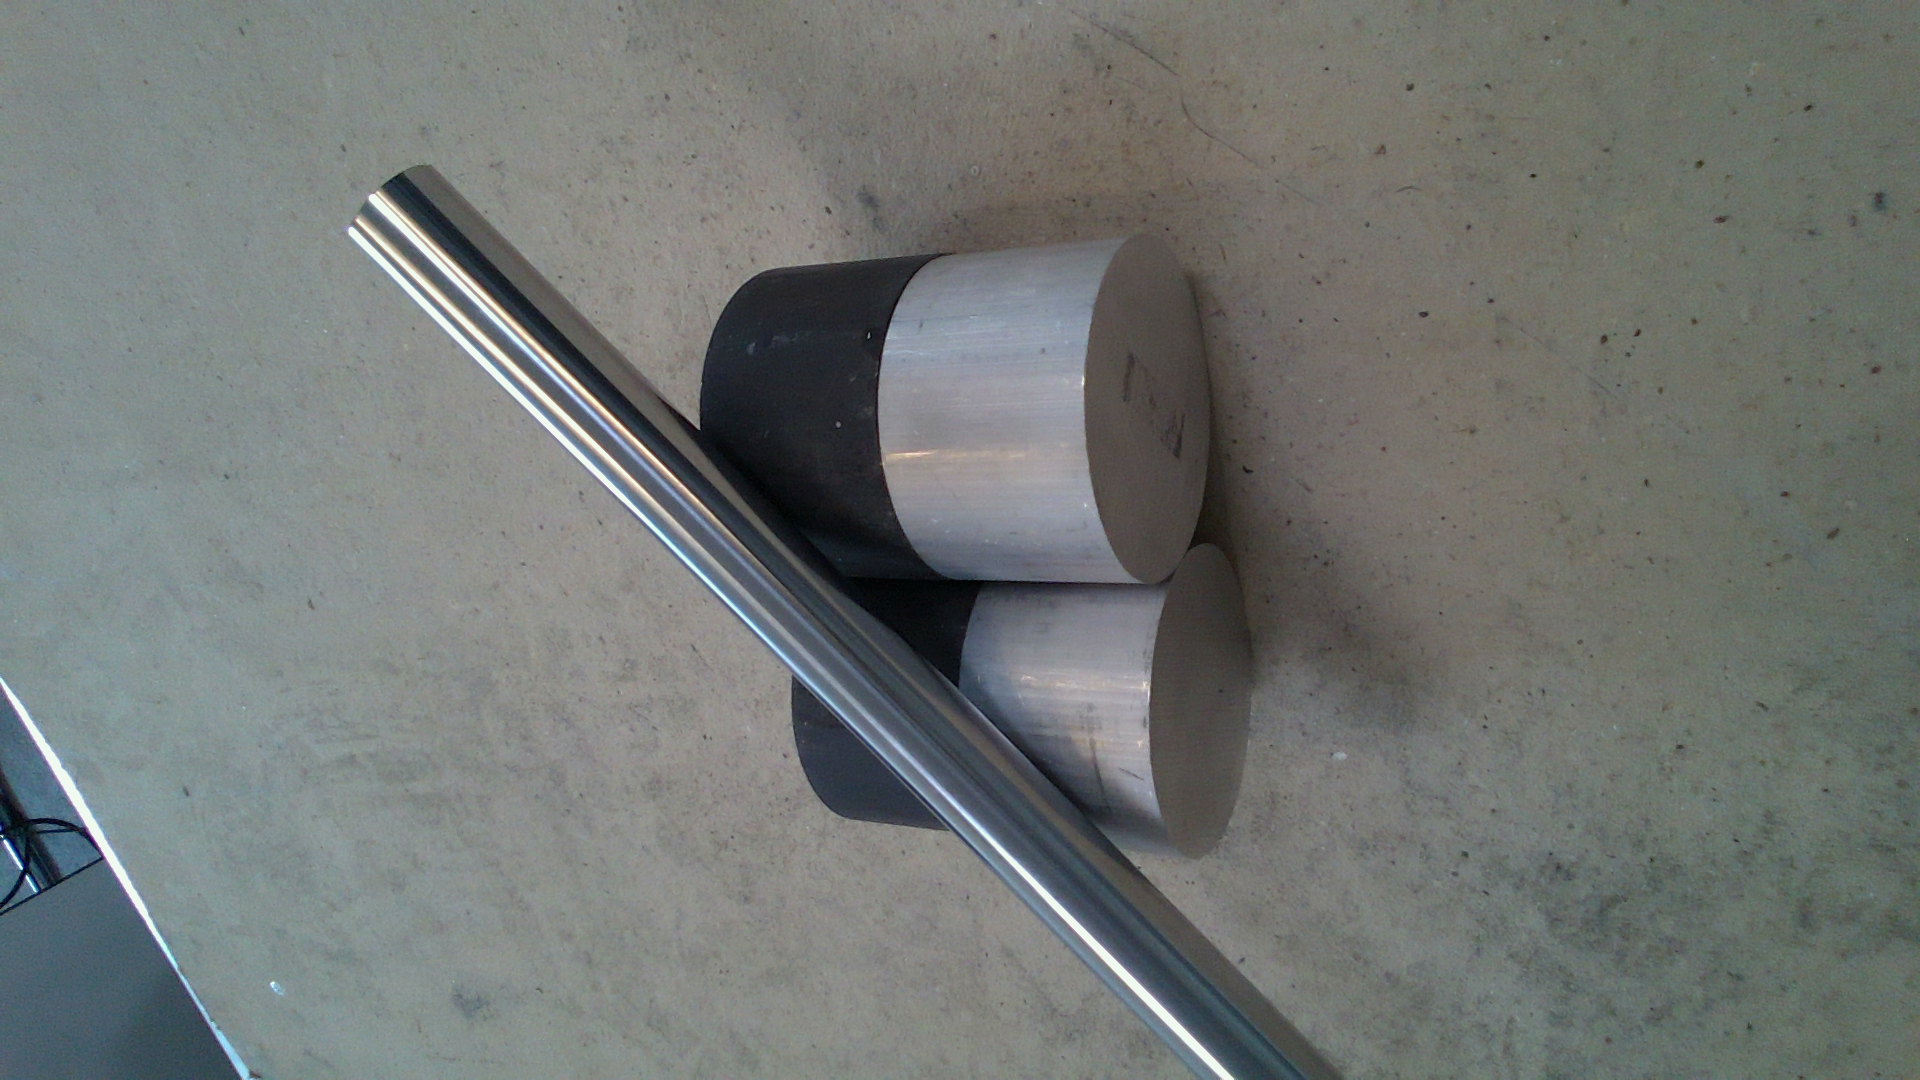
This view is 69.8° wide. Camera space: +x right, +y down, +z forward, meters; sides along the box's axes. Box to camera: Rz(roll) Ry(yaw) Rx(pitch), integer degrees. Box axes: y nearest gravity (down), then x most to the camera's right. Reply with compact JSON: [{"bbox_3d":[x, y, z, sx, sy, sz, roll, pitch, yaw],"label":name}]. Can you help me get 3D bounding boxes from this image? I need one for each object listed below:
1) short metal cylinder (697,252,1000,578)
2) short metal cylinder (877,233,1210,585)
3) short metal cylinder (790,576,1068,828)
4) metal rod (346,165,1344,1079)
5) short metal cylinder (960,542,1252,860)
[{"bbox_3d":[-0.021,-0.031,0.350,0.050,0.080,0.080,1,119,28],"label":"short metal cylinder"},{"bbox_3d":[0.023,-0.030,0.327,0.050,0.080,0.080,1,119,28],"label":"short metal cylinder"},{"bbox_3d":[-0.004,0.040,0.385,0.050,0.080,0.080,1,119,28],"label":"short metal cylinder"},{"bbox_3d":[-0.023,0.031,0.320,0.300,0.025,0.025,45,129,-4],"label":"metal rod"},{"bbox_3d":[0.041,0.040,0.361,0.050,0.080,0.080,1,119,28],"label":"short metal cylinder"}]
